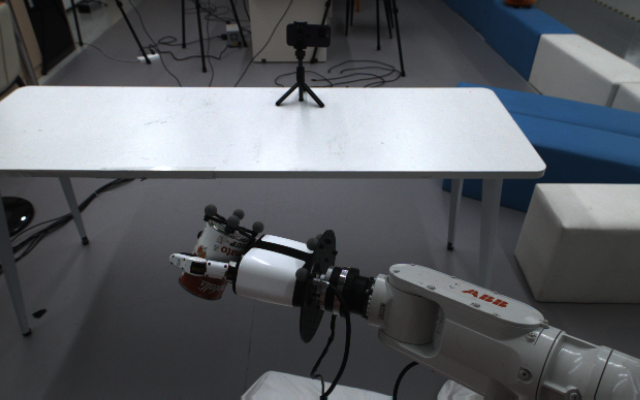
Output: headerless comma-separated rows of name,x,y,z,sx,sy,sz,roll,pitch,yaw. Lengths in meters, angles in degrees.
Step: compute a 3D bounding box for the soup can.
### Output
soup can,-0.154,0.086,0.703,0.067,0.101,0.067,28,6,-3
